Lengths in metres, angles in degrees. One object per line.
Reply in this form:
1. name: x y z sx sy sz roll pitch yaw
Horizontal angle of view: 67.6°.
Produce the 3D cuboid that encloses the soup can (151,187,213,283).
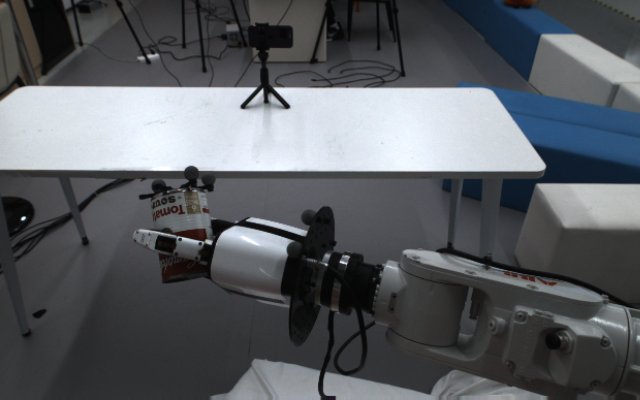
1. soup can: -0.160 0.045 0.583 0.067 0.067 0.101 -10 79 -17
